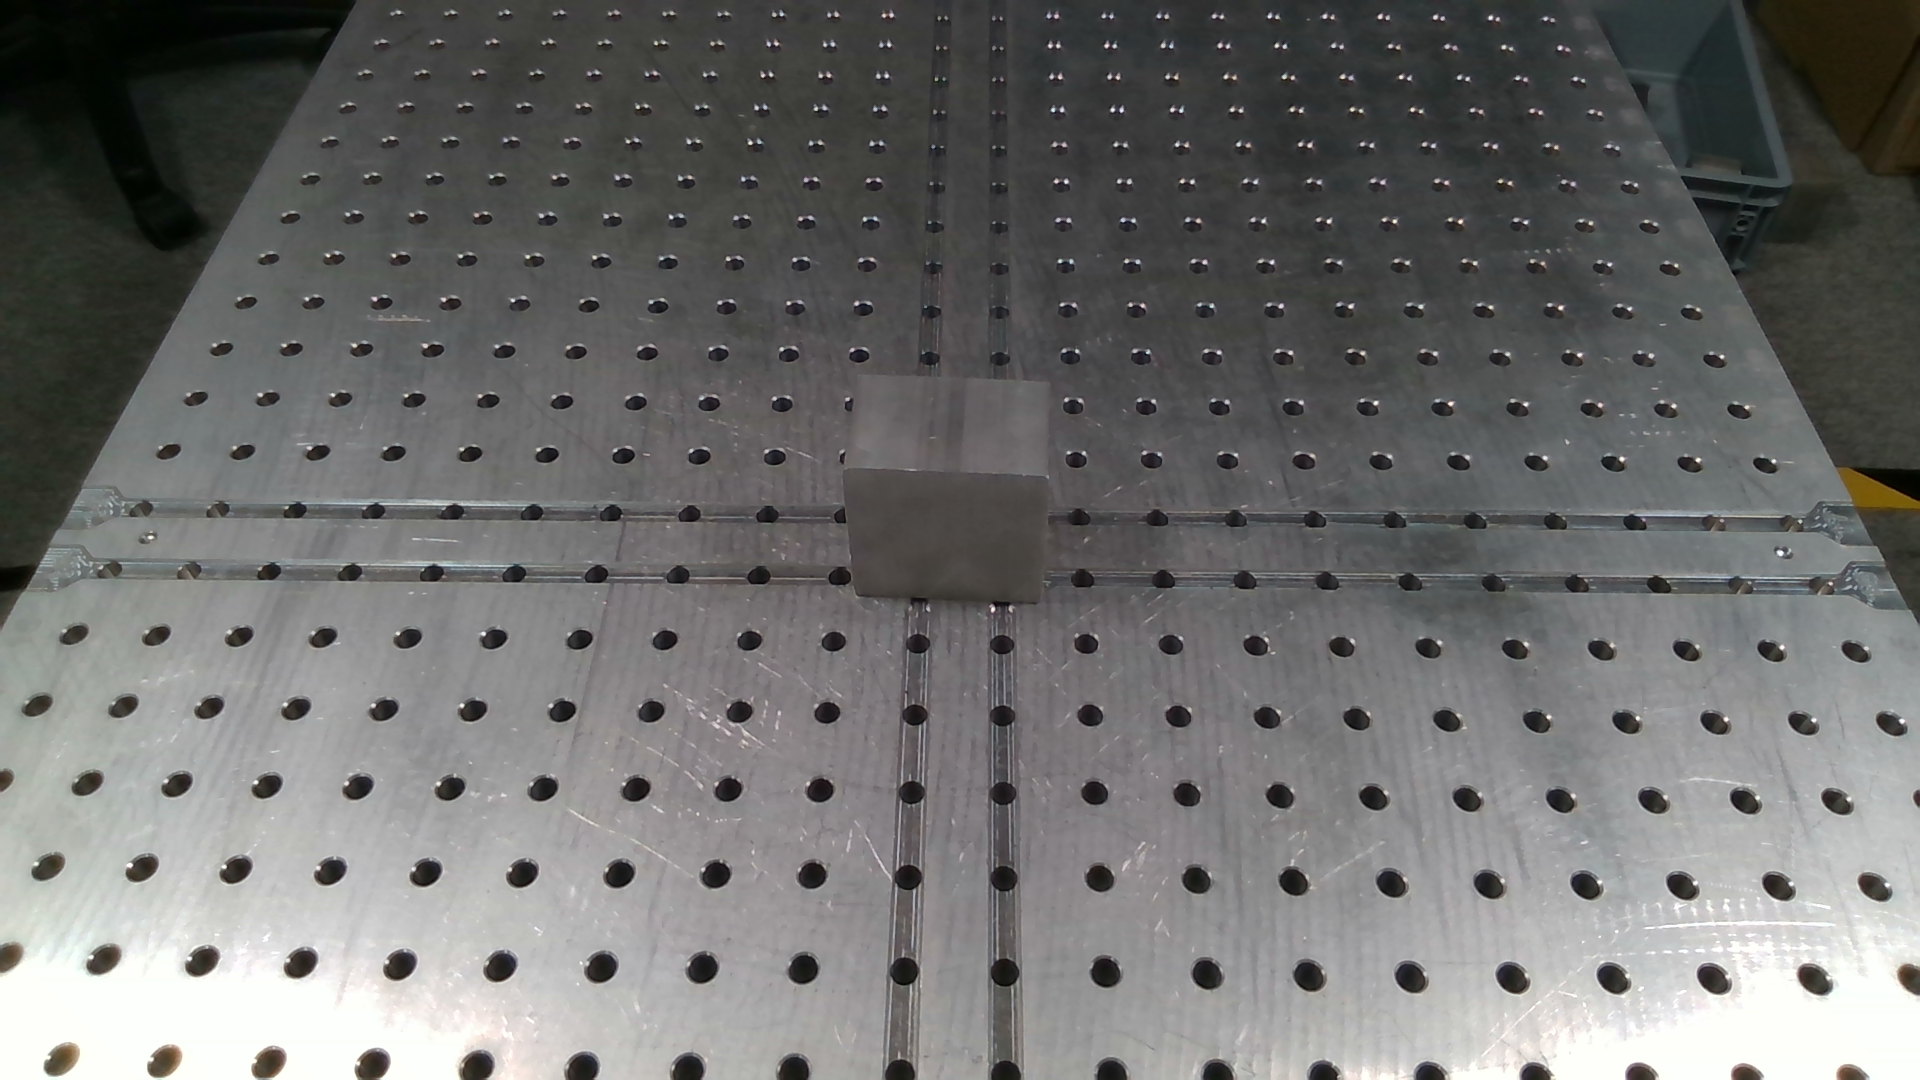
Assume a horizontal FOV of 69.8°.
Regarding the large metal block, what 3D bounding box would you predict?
[{"bbox_3d":[-0.005,-0.021,0.570,0.080,0.080,0.050,2,50,2],"label":"large metal block"}]
